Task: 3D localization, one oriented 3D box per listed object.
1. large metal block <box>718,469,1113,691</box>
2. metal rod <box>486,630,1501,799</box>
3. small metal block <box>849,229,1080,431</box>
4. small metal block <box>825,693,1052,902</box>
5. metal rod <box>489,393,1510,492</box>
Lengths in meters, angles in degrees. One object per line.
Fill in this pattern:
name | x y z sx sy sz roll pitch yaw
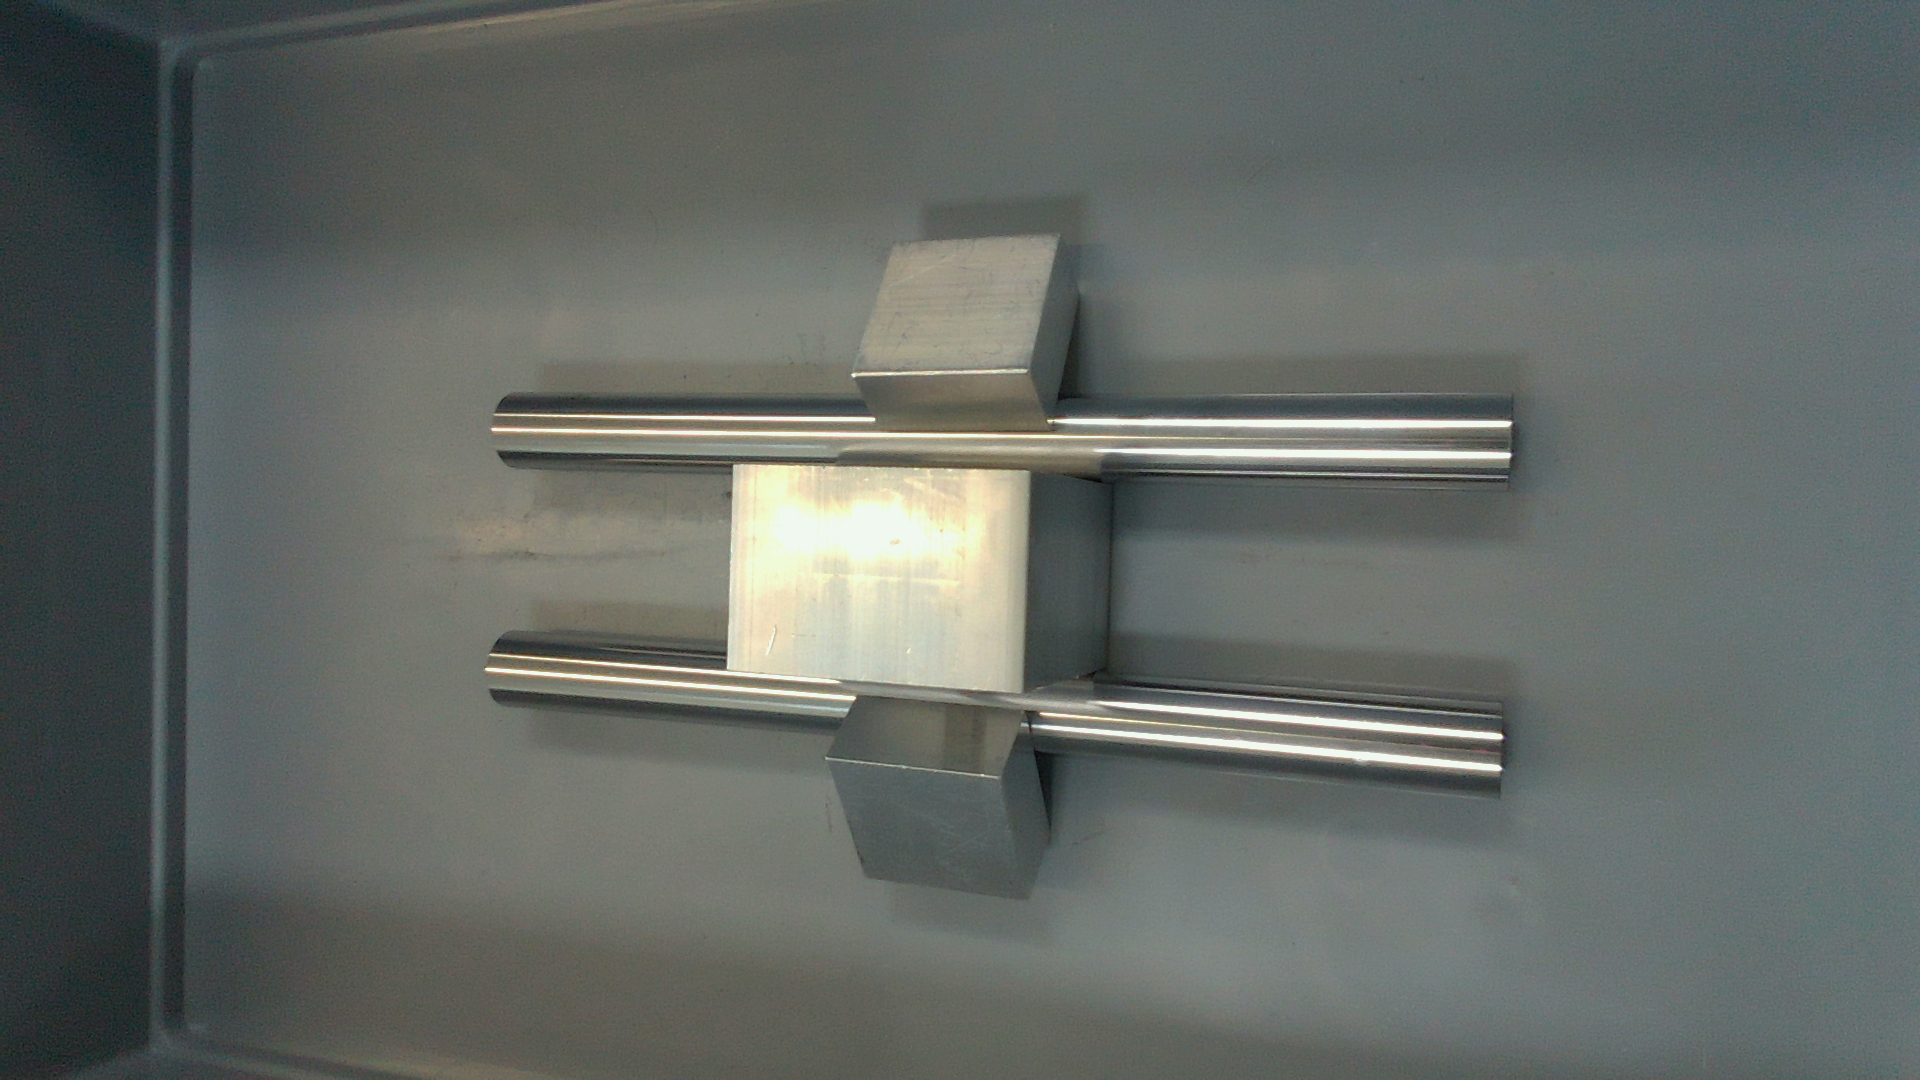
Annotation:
large metal block | -0.008 0.008 0.367 0.080 0.080 0.050 2 91 20
metal rod | -0.005 0.047 0.397 0.299 0.025 0.025 2 91 20
small metal block | 0.003 -0.058 0.381 0.050 0.025 0.050 1 56 20
small metal block | -0.005 0.072 0.384 0.050 0.025 0.050 3 129 20
metal rod | -0.003 -0.030 0.395 0.299 0.025 0.025 2 91 20
